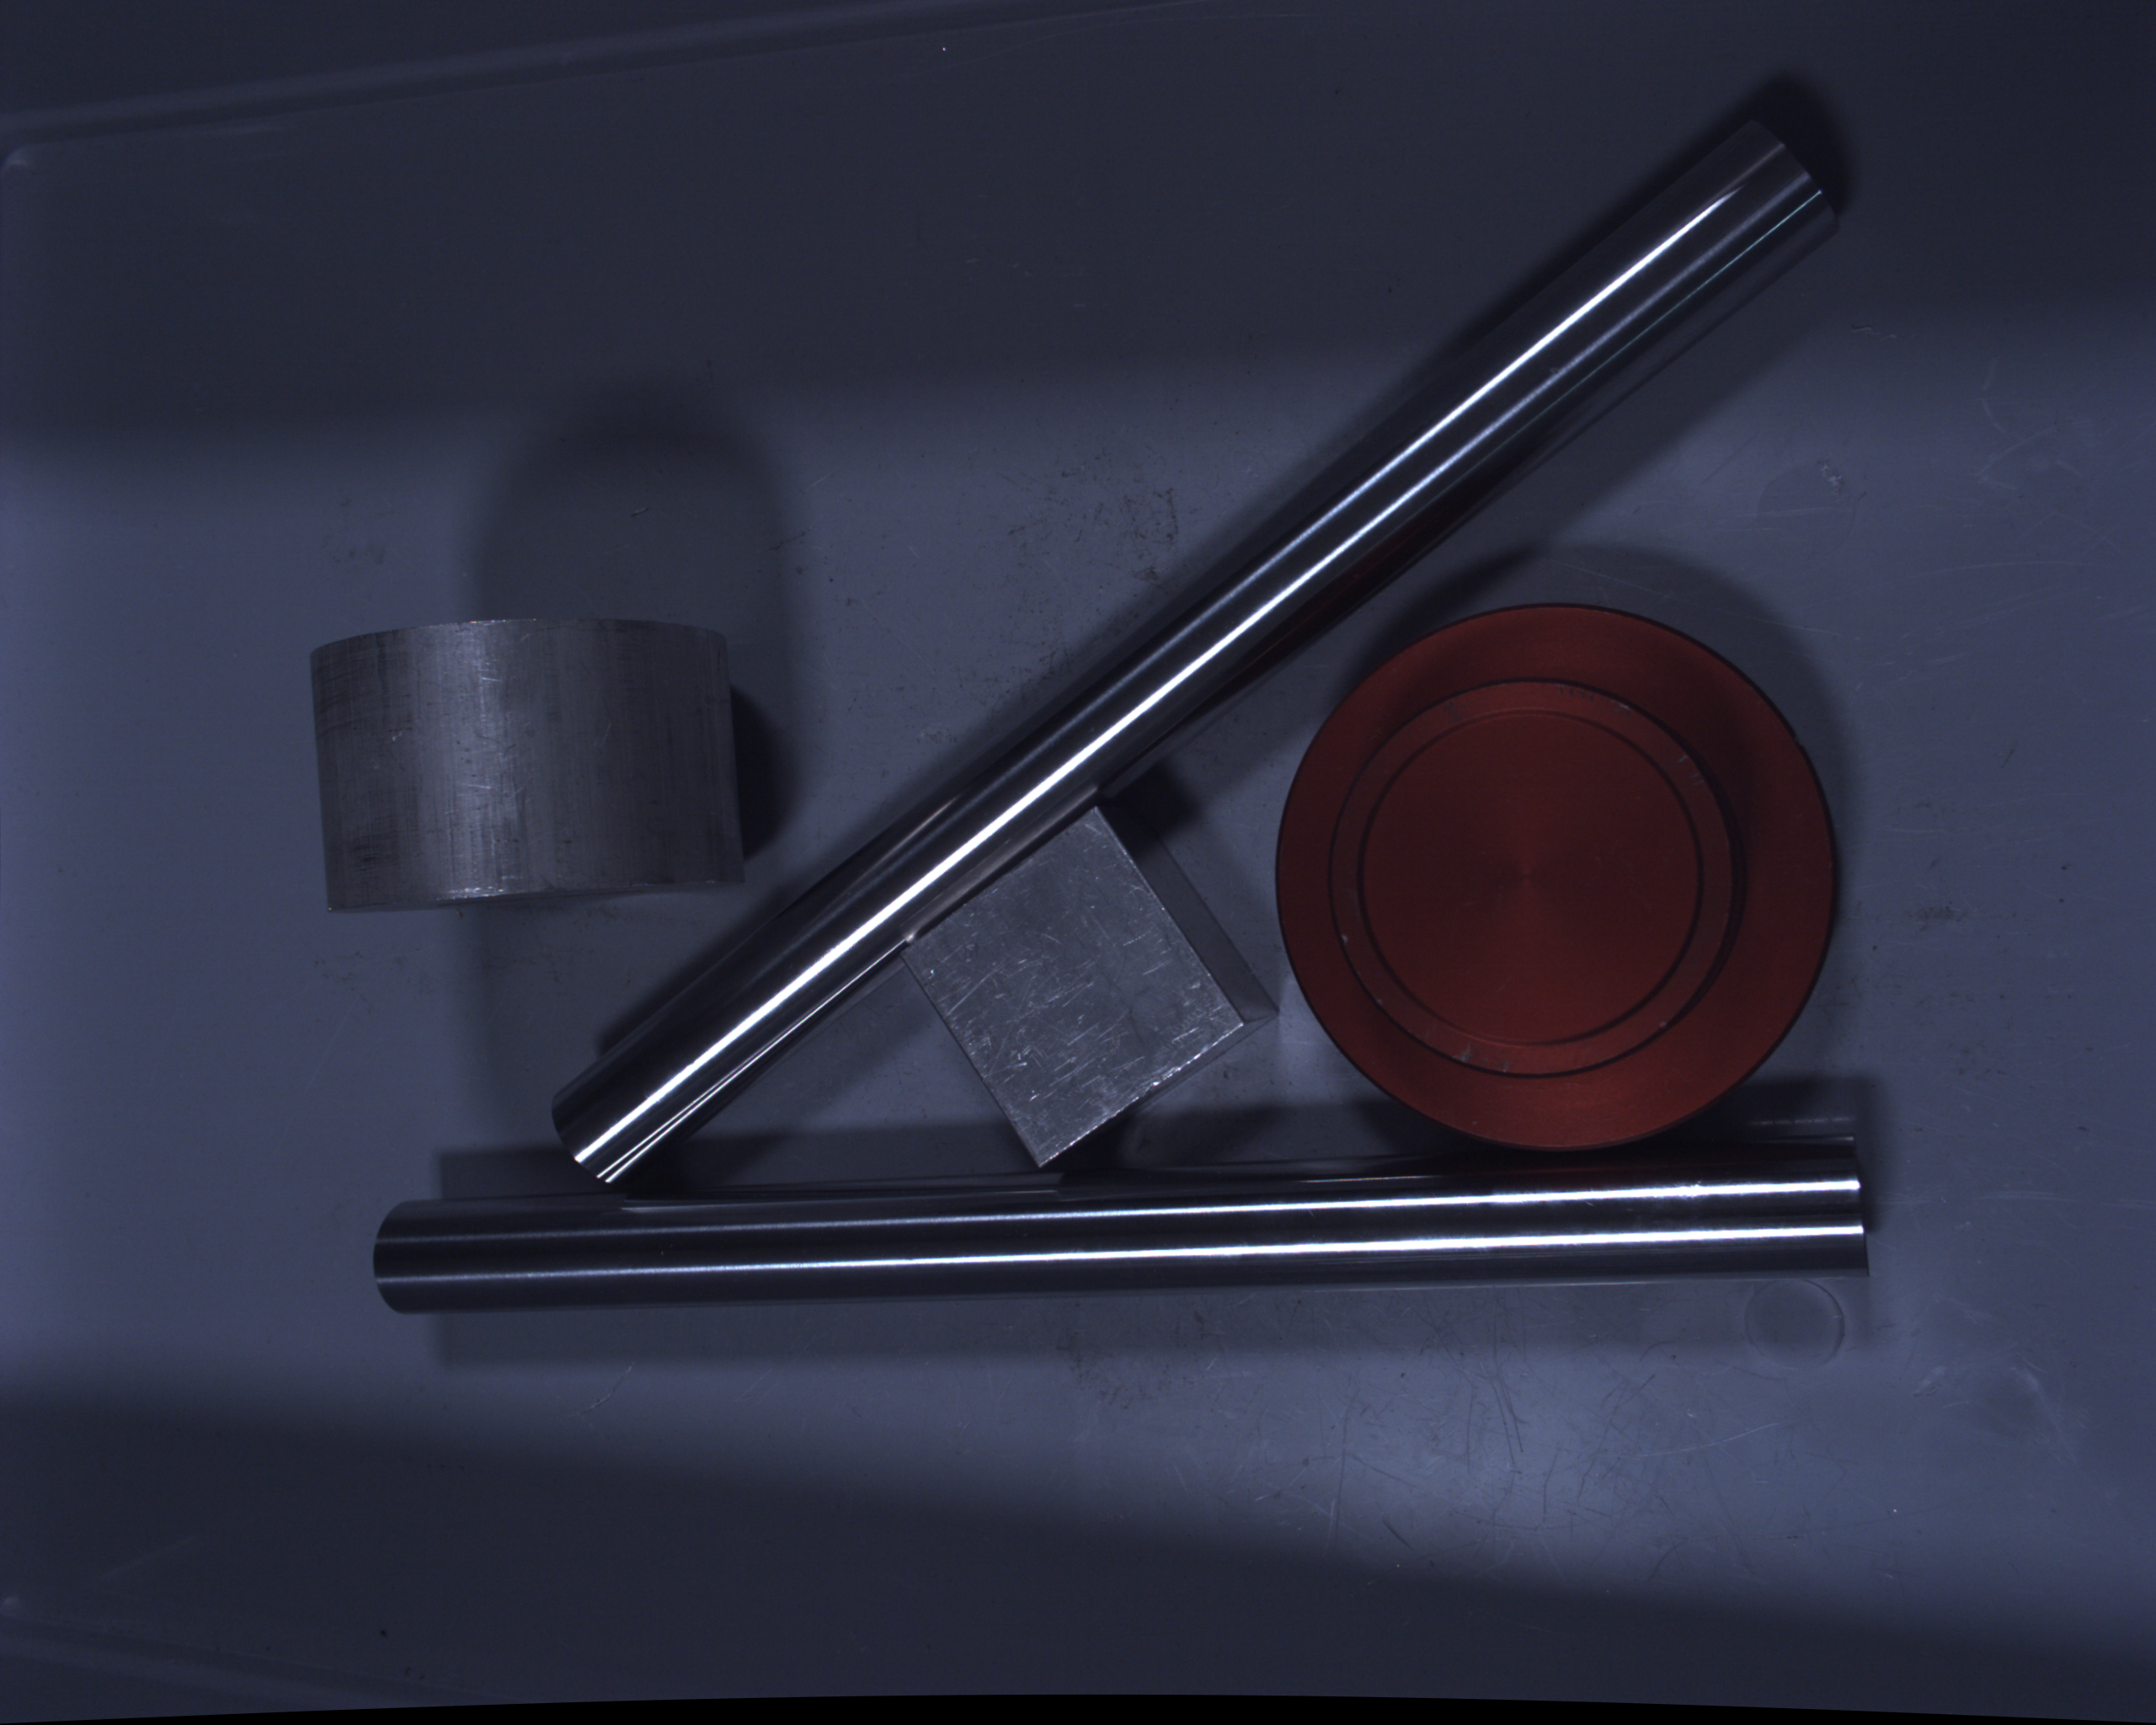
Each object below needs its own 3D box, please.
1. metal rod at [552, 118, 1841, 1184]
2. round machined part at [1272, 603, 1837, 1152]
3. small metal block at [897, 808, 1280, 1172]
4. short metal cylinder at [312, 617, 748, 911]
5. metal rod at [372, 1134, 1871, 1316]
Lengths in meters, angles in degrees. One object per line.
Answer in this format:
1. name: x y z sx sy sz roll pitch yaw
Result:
1. metal rod: 0.012 -0.031 0.404 0.300 0.025 0.025 -38 78 15
2. round machined part: 0.082 0.003 0.369 0.098 0.042 0.097 0 90 19
3. small metal block: 0.002 0.024 0.407 0.050 0.025 0.050 -37 79 16
4. short metal cylinder: -0.109 -0.018 0.417 0.080 0.080 0.050 -5 89 19
5. metal rod: -0.006 0.073 0.410 0.301 0.025 0.025 -6 88 19
